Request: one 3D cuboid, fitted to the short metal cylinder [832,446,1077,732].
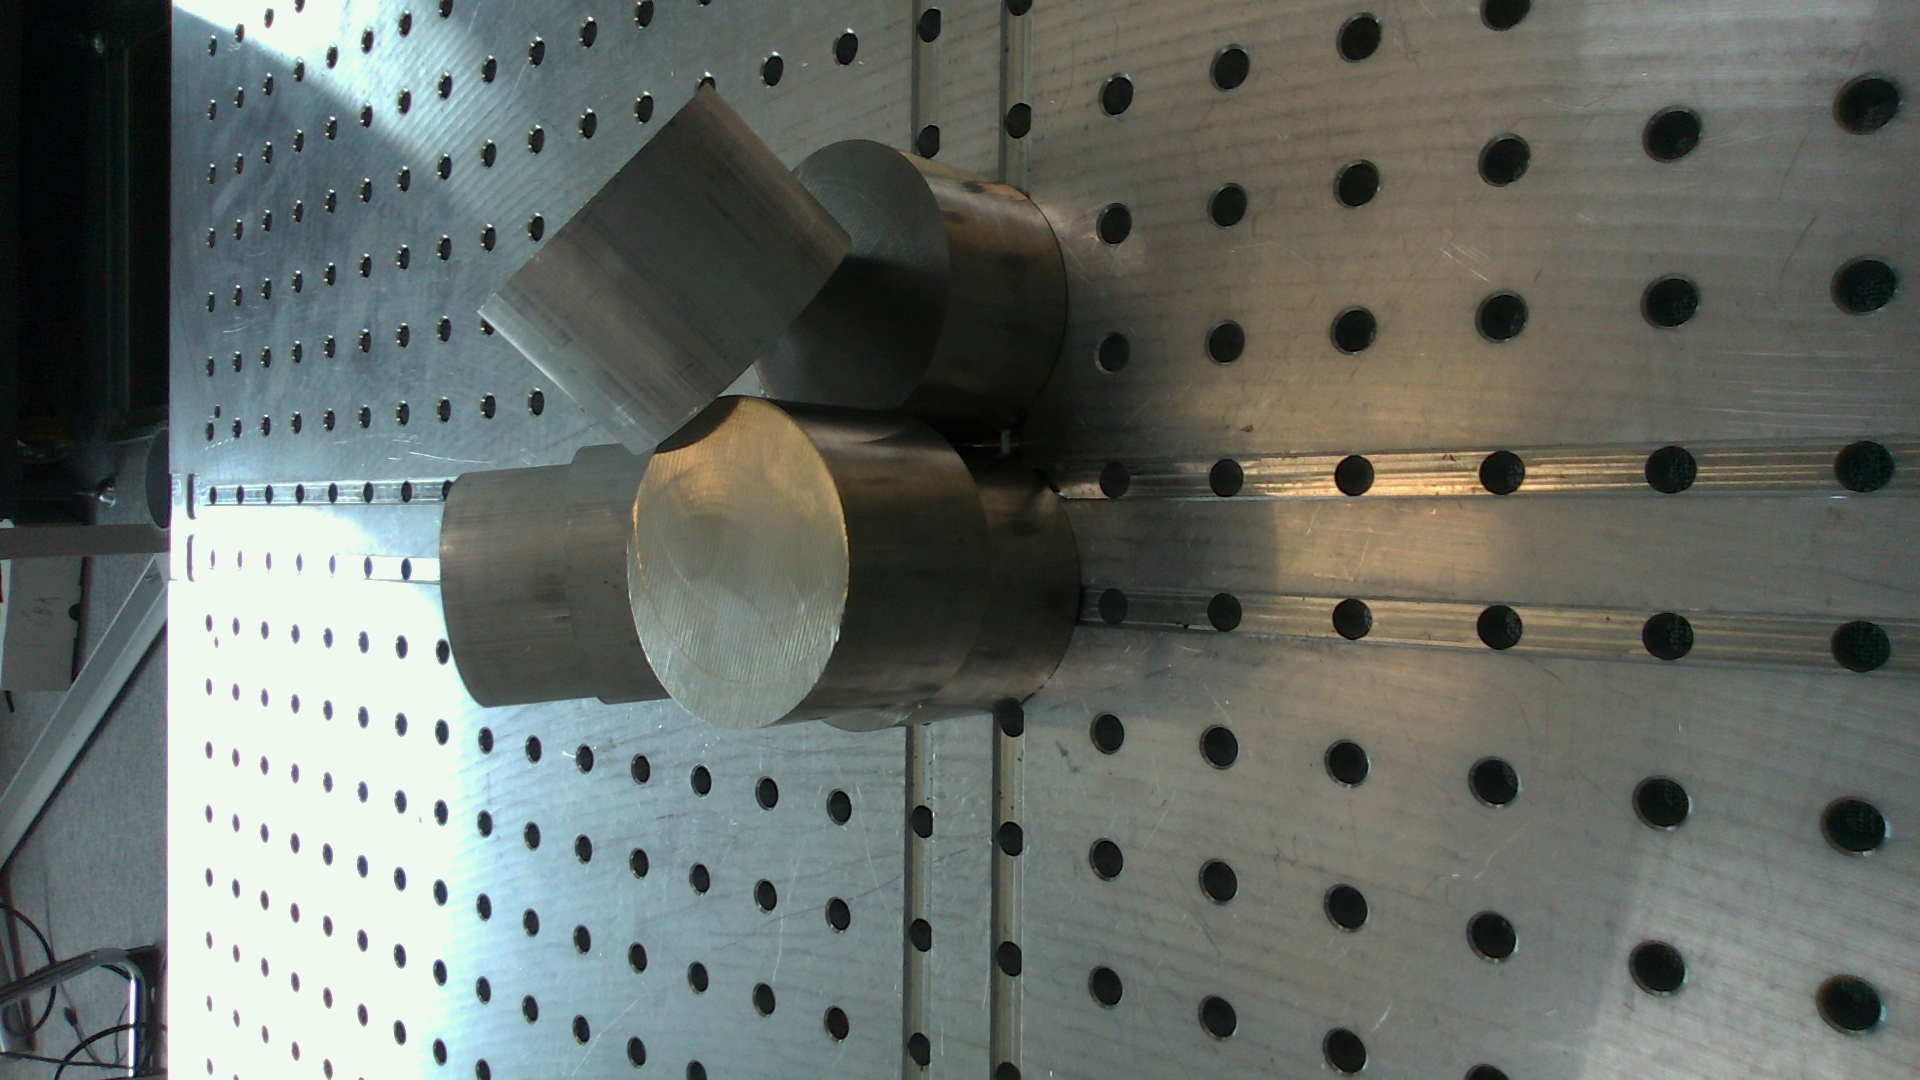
[{"bbox_3d":[-0.014,0.012,0.392,0.080,0.050,0.080,0,90,40],"label":"short metal cylinder"}]

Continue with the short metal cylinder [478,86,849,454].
[{"bbox_3d":[-0.075,-0.068,0.350,0.080,0.080,0.050,-30,114,36],"label":"short metal cylinder"}]

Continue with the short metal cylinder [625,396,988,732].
[{"bbox_3d":[-0.040,0.006,0.347,0.080,0.050,0.080,0,90,40],"label":"short metal cylinder"}]

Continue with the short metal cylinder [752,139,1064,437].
[{"bbox_3d":[-0.017,-0.069,0.396,0.080,0.050,0.080,0,90,40],"label":"short metal cylinder"}]

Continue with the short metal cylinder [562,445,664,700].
[{"bbox_3d":[-0.087,0.008,0.426,0.050,0.080,0.080,-5,86,-1],"label":"short metal cylinder"}]

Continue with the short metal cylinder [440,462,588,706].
[{"bbox_3d":[-0.138,0.014,0.470,0.050,0.080,0.080,-6,85,-2],"label":"short metal cylinder"}]
